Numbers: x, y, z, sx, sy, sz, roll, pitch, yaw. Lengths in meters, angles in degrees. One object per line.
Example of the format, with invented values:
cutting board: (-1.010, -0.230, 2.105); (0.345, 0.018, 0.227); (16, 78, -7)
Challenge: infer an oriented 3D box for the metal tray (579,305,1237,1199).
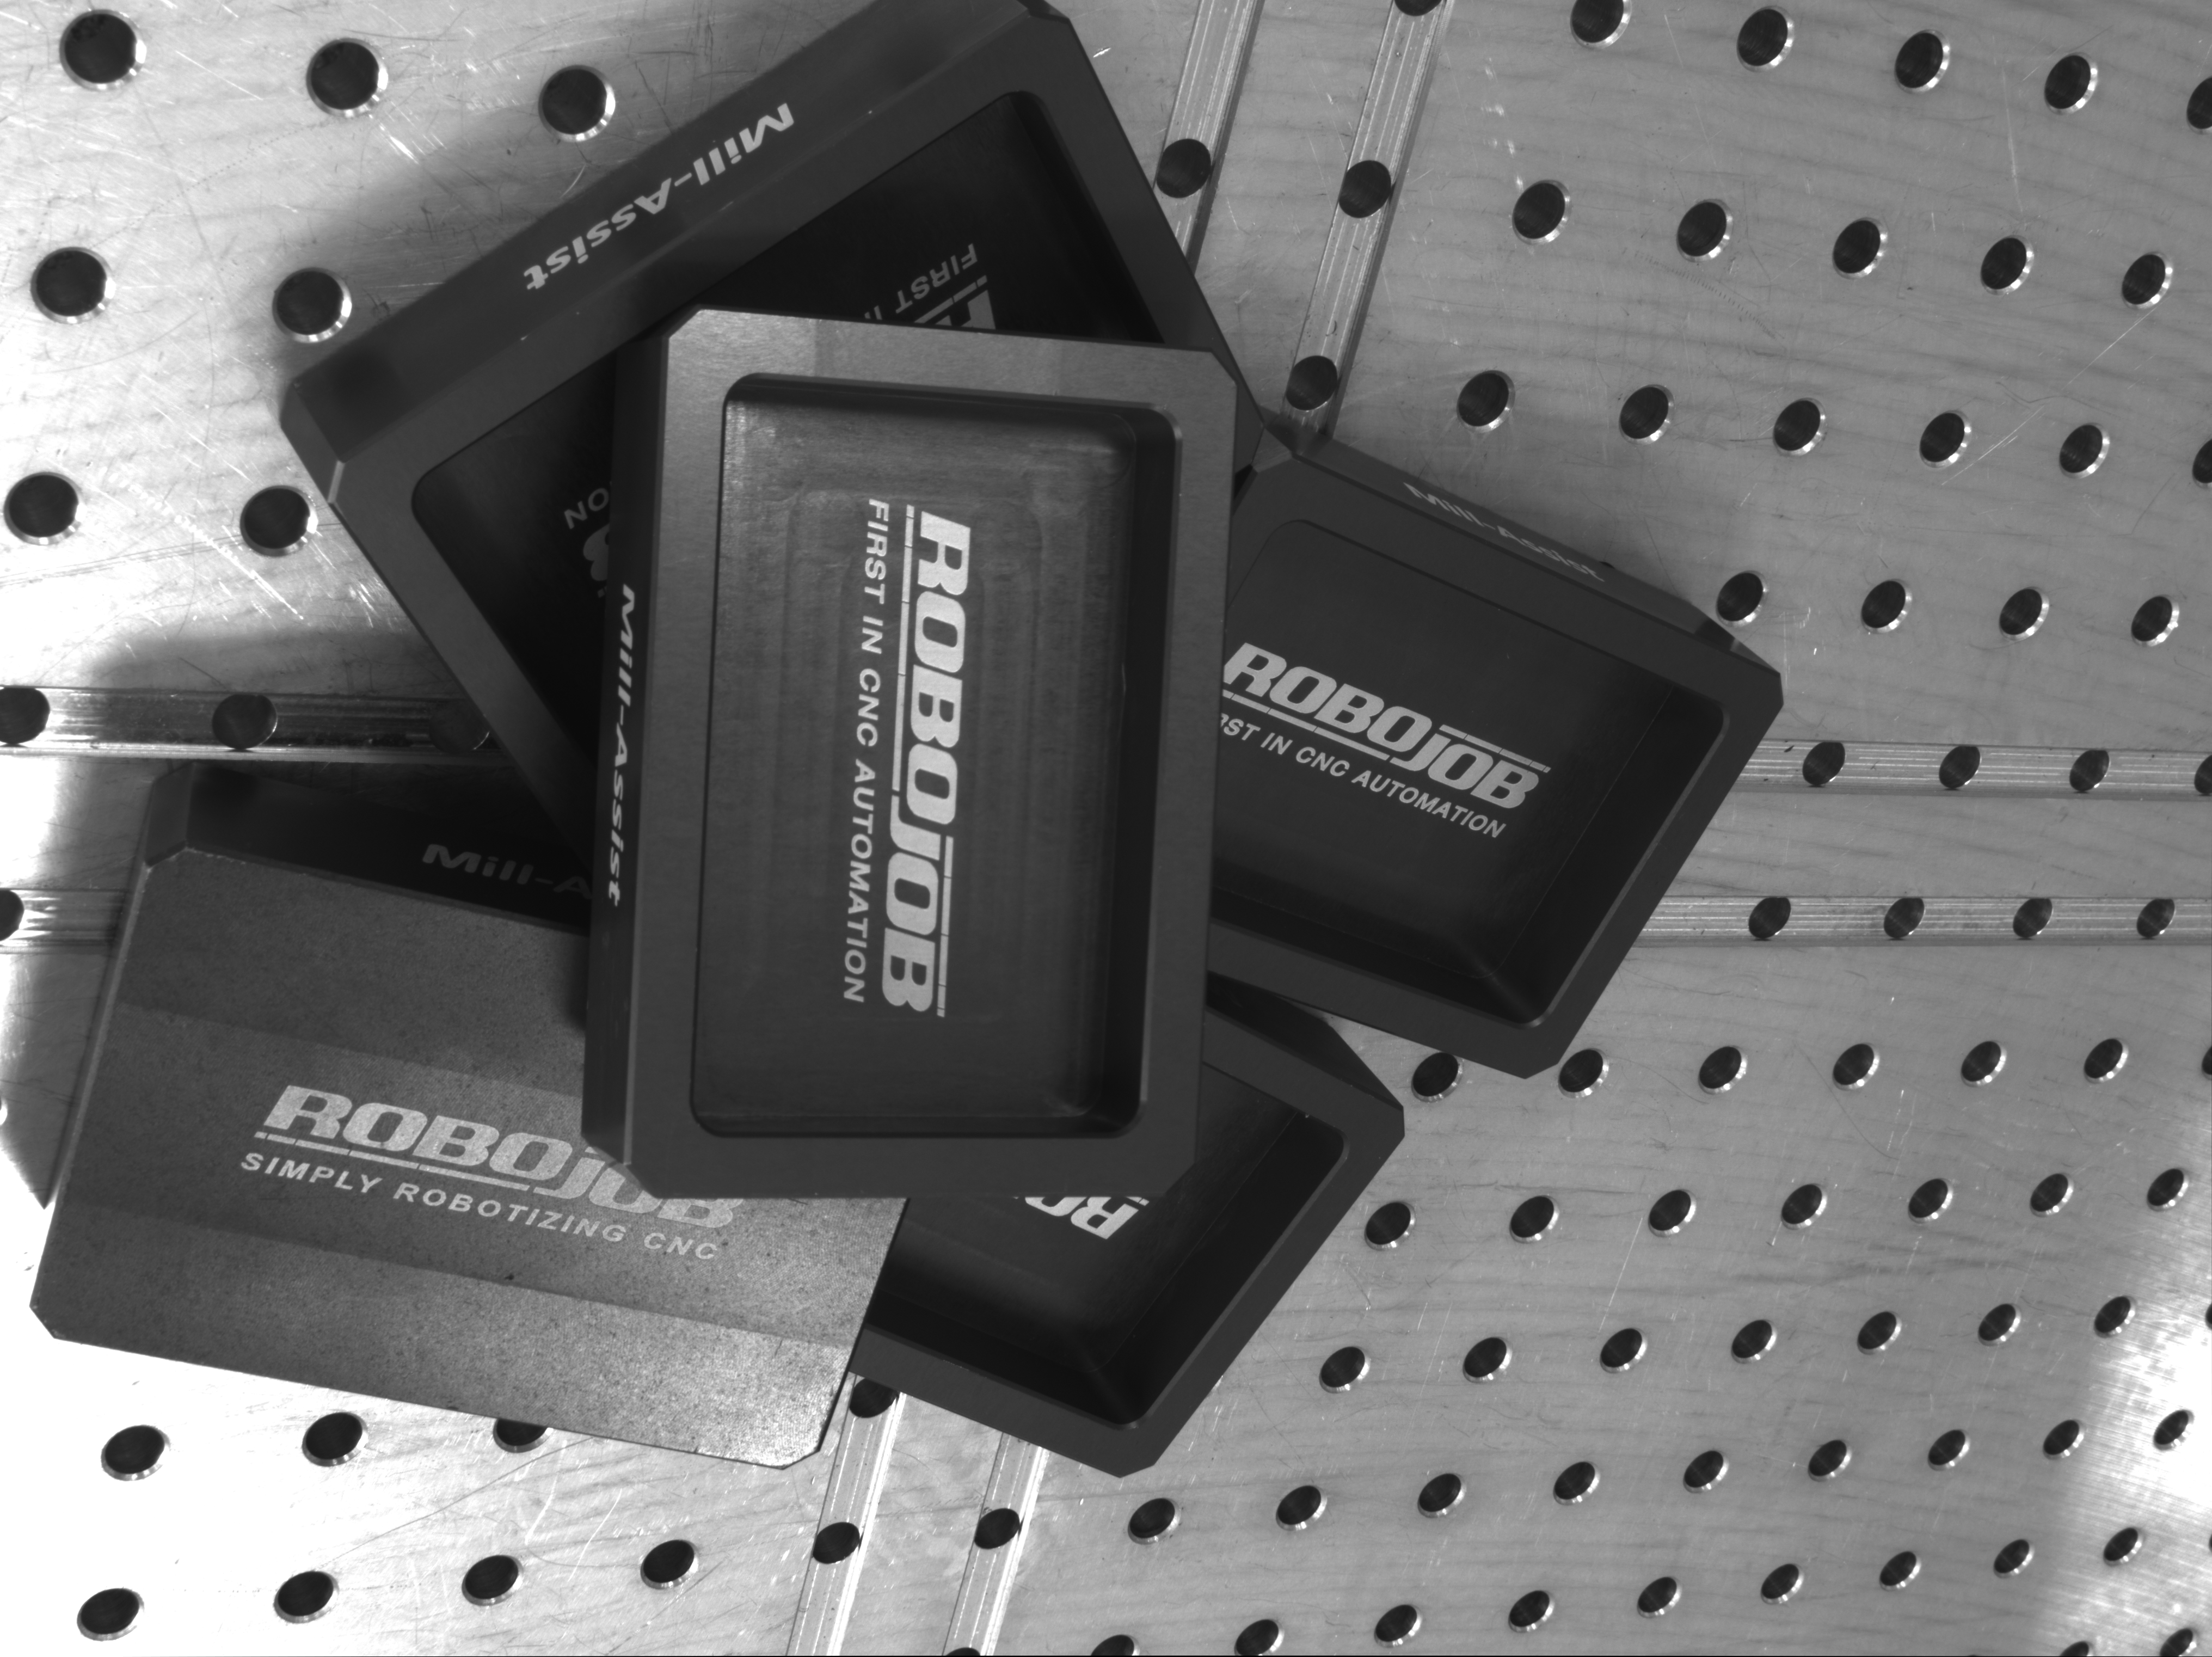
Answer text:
metal tray: (-0.030, -0.010, 0.560); (0.090, 0.030, 0.130); (2, 93, -21)

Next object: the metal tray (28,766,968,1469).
metal tray: (-0.098, 0.049, 0.593); (0.130, 0.030, 0.090); (13, 113, -18)

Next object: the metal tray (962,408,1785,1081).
metal tray: (0.049, -0.013, 0.654); (0.130, 0.030, 0.090); (20, 108, -35)

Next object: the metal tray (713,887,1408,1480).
metal tray: (-0.018, 0.058, 0.662); (0.130, 0.030, 0.090); (28, 103, -37)

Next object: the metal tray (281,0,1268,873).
metal tray: (-0.049, -0.062, 0.572); (0.130, 0.030, 0.090); (-34, 128, -6)
